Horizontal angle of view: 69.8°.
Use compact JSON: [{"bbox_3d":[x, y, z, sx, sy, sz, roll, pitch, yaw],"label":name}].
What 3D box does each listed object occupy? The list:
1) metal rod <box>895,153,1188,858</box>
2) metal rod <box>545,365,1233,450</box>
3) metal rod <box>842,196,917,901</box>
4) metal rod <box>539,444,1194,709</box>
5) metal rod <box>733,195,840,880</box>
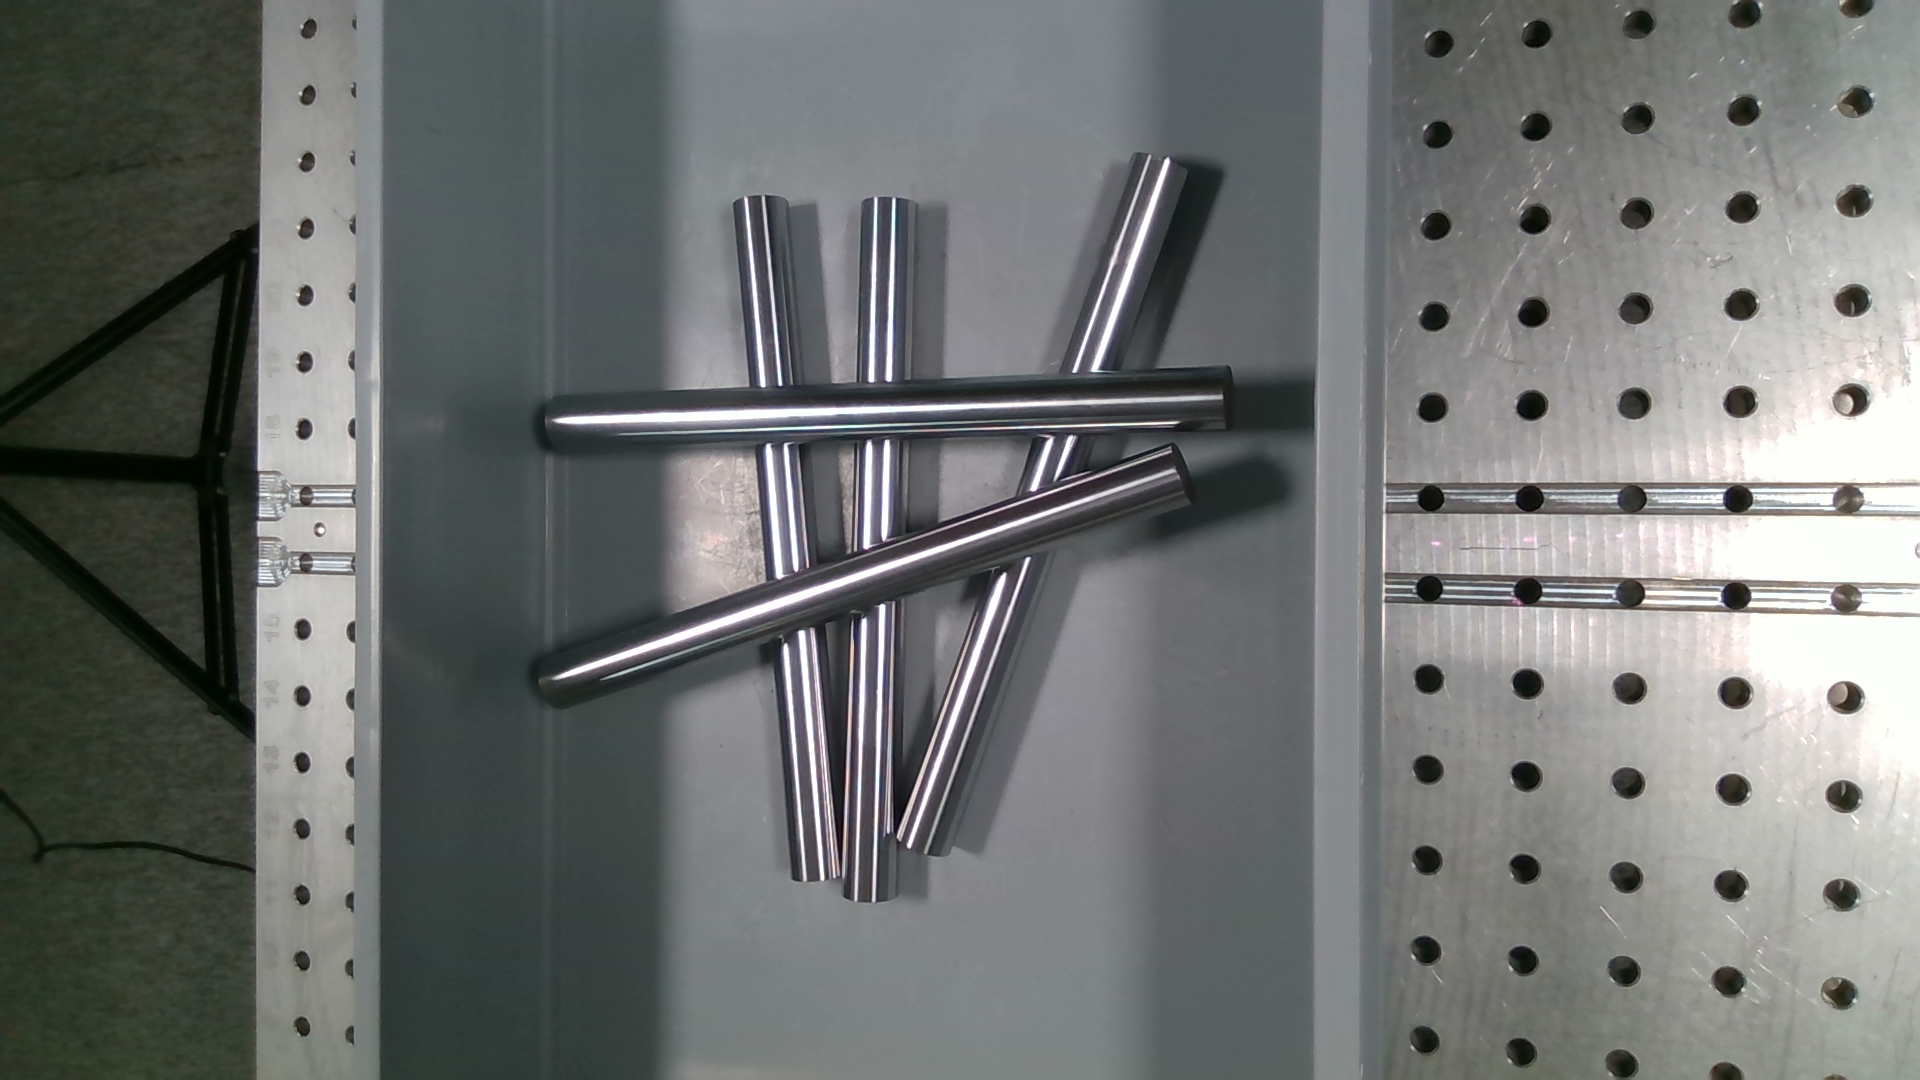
[{"bbox_3d":[0.032,-0.010,0.572,0.025,0.025,0.300,21,98,19],"label":"metal rod"},{"bbox_3d":[-0.040,-0.053,0.571,0.300,0.025,0.025,0,90,20],"label":"metal rod"},{"bbox_3d":[-0.035,0.004,0.597,0.025,0.025,0.300,2,91,20],"label":"metal rod"},{"bbox_3d":[-0.049,0.020,0.576,0.300,0.025,0.025,-19,84,19],"label":"metal rod"},{"bbox_3d":[-0.076,-0.002,0.612,0.025,0.025,0.300,-5,89,20],"label":"metal rod"}]
